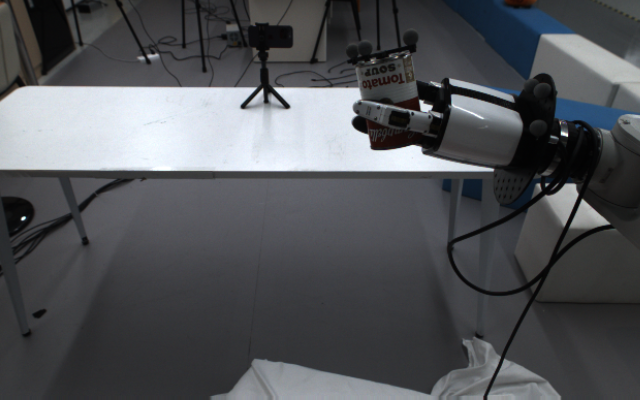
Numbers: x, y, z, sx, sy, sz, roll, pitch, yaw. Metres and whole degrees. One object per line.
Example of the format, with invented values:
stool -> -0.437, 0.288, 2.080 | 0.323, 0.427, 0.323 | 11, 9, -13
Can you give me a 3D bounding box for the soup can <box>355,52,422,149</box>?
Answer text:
soup can -> 0.085, -0.119, 0.577 | 0.067, 0.101, 0.067 | -12, 17, 4
